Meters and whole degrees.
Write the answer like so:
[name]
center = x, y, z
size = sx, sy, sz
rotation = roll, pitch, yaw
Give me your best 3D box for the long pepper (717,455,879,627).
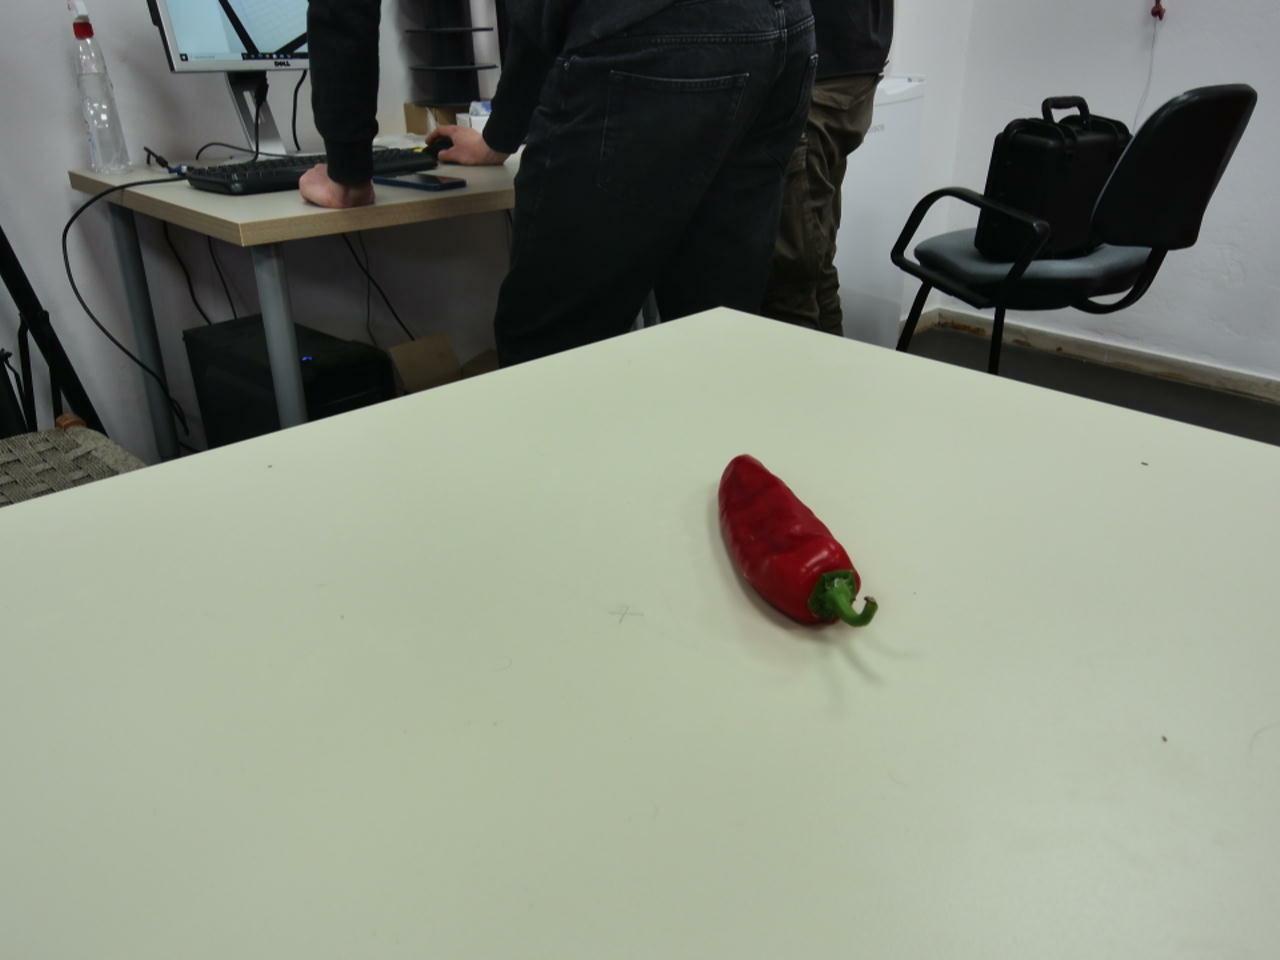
[long pepper]
center = 0.074, 0.028, 0.538
size = 0.050, 0.043, 0.211
rotation = -4, 24, -8
